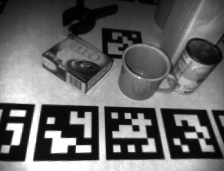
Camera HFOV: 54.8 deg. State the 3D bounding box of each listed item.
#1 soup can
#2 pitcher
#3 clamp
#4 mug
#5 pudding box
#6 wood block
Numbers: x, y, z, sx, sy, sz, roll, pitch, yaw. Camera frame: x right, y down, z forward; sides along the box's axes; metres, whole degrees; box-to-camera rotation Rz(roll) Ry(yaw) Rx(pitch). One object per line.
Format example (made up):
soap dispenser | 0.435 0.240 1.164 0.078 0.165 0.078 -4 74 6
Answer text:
soup can | 0.165 -0.043 0.440 0.068 0.102 0.067 5 57 -7
pitcher | 0.205 -0.254 0.511 0.189 0.243 0.132 0 53 -7
clamp | -0.061 -0.183 0.542 0.122 0.036 0.165 30 55 1
mug | 0.073 -0.024 0.422 0.116 0.081 0.094 31 53 13
pudding box | -0.073 -0.054 0.443 0.113 0.039 0.090 33 59 13
wood block | 0.185 -0.146 0.451 0.090 0.206 0.090 1 55 -13
